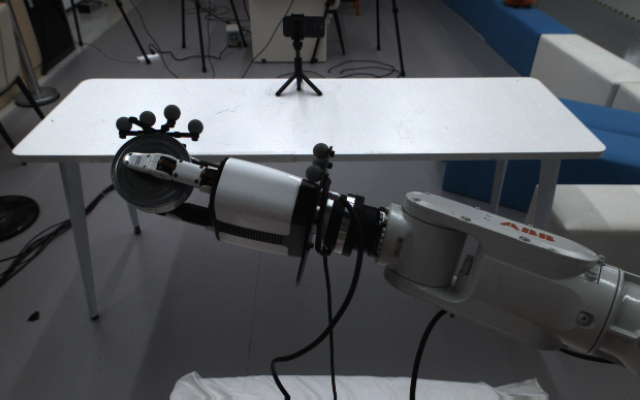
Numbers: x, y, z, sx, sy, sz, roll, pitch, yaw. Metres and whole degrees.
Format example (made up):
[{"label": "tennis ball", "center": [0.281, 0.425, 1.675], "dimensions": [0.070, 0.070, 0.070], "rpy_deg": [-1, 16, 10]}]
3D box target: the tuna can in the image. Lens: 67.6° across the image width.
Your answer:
[{"label": "tuna can", "center": [-0.180, -0.029, 0.537], "dimensions": [0.085, 0.034, 0.085], "rpy_deg": [1, 70, -4]}]
